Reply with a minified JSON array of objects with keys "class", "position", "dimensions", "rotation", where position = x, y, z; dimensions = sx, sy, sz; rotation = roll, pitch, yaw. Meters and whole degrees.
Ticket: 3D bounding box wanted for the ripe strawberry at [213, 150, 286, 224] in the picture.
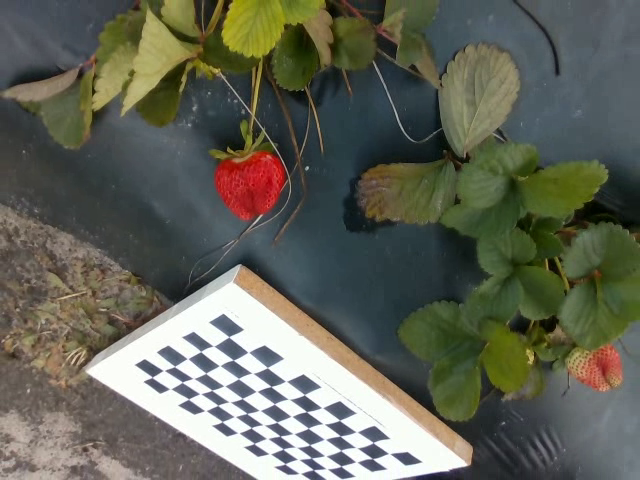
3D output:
[{"class":"ripe strawberry","position":[-0.014,-0.009,0.113],"dimensions":[0.017,0.015,0.013],"rotation":[-7,-4,28]}]
